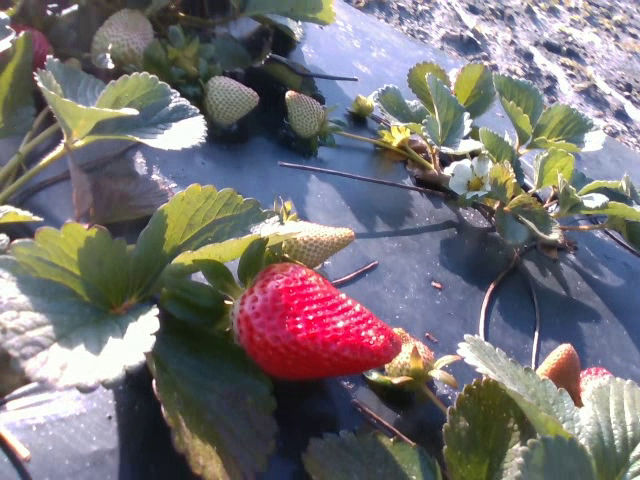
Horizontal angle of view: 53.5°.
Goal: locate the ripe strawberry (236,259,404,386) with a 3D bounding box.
[{"bbox_3d":[0.001,0.032,0.231,0.072,0.057,0.055,13,-9,16],"label":"ripe strawberry"}]
